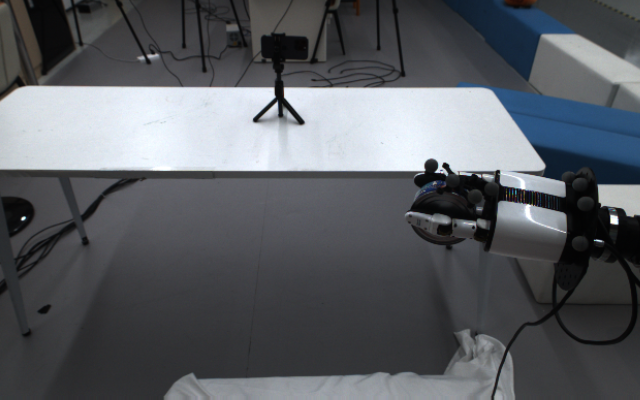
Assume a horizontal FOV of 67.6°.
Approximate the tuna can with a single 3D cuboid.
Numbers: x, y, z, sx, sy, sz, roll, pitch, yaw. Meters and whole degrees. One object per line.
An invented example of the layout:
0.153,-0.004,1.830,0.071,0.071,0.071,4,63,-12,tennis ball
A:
0.167,0.016,0.648,0.085,0.085,0.034,12,33,14,tuna can
